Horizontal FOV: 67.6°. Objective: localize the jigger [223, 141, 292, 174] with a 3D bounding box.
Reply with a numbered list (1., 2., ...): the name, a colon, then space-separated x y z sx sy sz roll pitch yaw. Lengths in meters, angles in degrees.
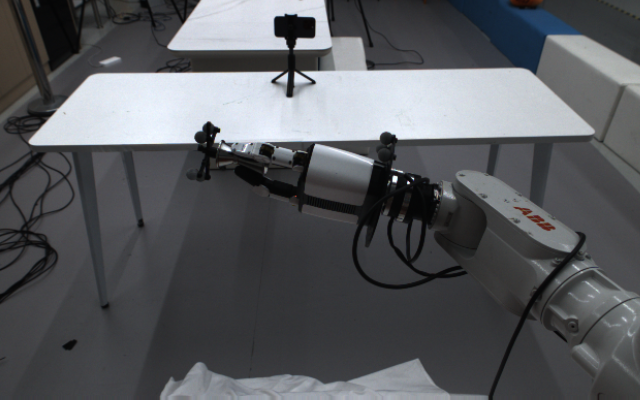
1. jigger: -0.100 -0.061 0.677 0.071 0.043 0.043 10 35 1
